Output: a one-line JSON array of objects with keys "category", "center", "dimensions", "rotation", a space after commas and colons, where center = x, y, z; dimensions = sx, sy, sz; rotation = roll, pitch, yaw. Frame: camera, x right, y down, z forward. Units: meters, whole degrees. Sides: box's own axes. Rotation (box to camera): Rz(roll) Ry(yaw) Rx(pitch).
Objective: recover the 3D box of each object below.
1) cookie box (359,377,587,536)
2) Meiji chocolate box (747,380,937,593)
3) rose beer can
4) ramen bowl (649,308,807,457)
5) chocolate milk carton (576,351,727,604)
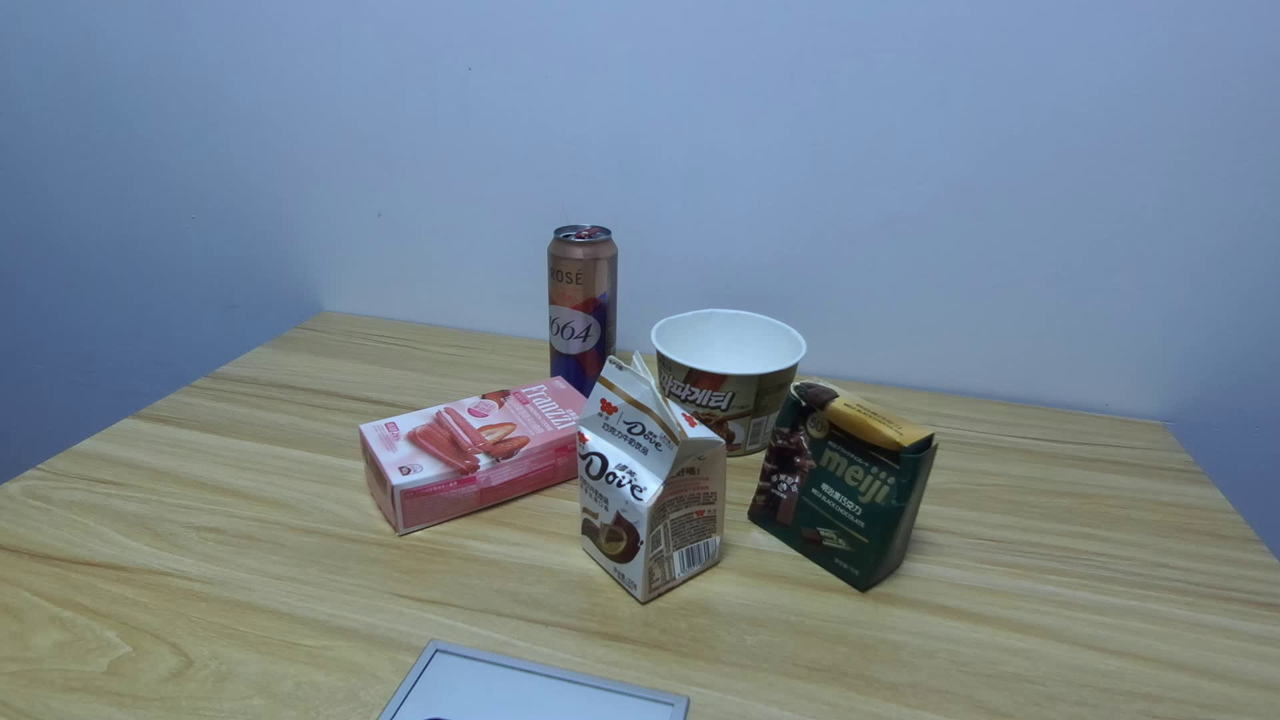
[{"category": "cookie box", "center": [-0.125, 0.074, 0.587], "dimensions": [0.188, 0.049, 0.104], "rotation": [-14, 29, -30]}, {"category": "Meiji chocolate box", "center": [0.144, 0.085, 0.506], "dimensions": [0.052, 0.117, 0.116], "rotation": [-10, 27, -41]}, {"category": "rose beer can", "center": [-0.056, -0.043, 0.695], "dimensions": [0.068, 0.169, 0.068], "rotation": [2, 24, -1]}, {"category": "ramen bowl", "center": [0.078, 0.021, 0.653], "dimensions": [0.140, 0.095, 0.140], "rotation": [1, 26, 0]}, {"category": "chocolate milk carton", "center": [0.008, 0.071, 0.470], "dimensions": [0.074, 0.155, 0.076], "rotation": [-19, 33, -33]}]
